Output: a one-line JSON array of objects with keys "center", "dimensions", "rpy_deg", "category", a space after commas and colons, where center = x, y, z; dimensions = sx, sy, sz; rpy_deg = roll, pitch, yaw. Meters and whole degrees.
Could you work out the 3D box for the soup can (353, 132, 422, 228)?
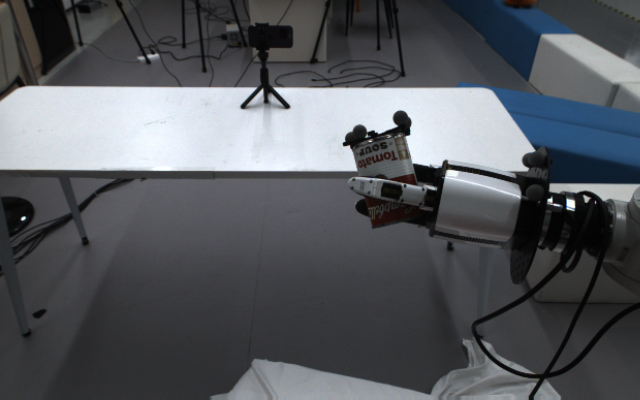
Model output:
[{"center": [0.084, -0.023, 0.587], "dimensions": [0.067, 0.101, 0.067], "rpy_deg": [-14, -2, -1], "category": "soup can"}]
